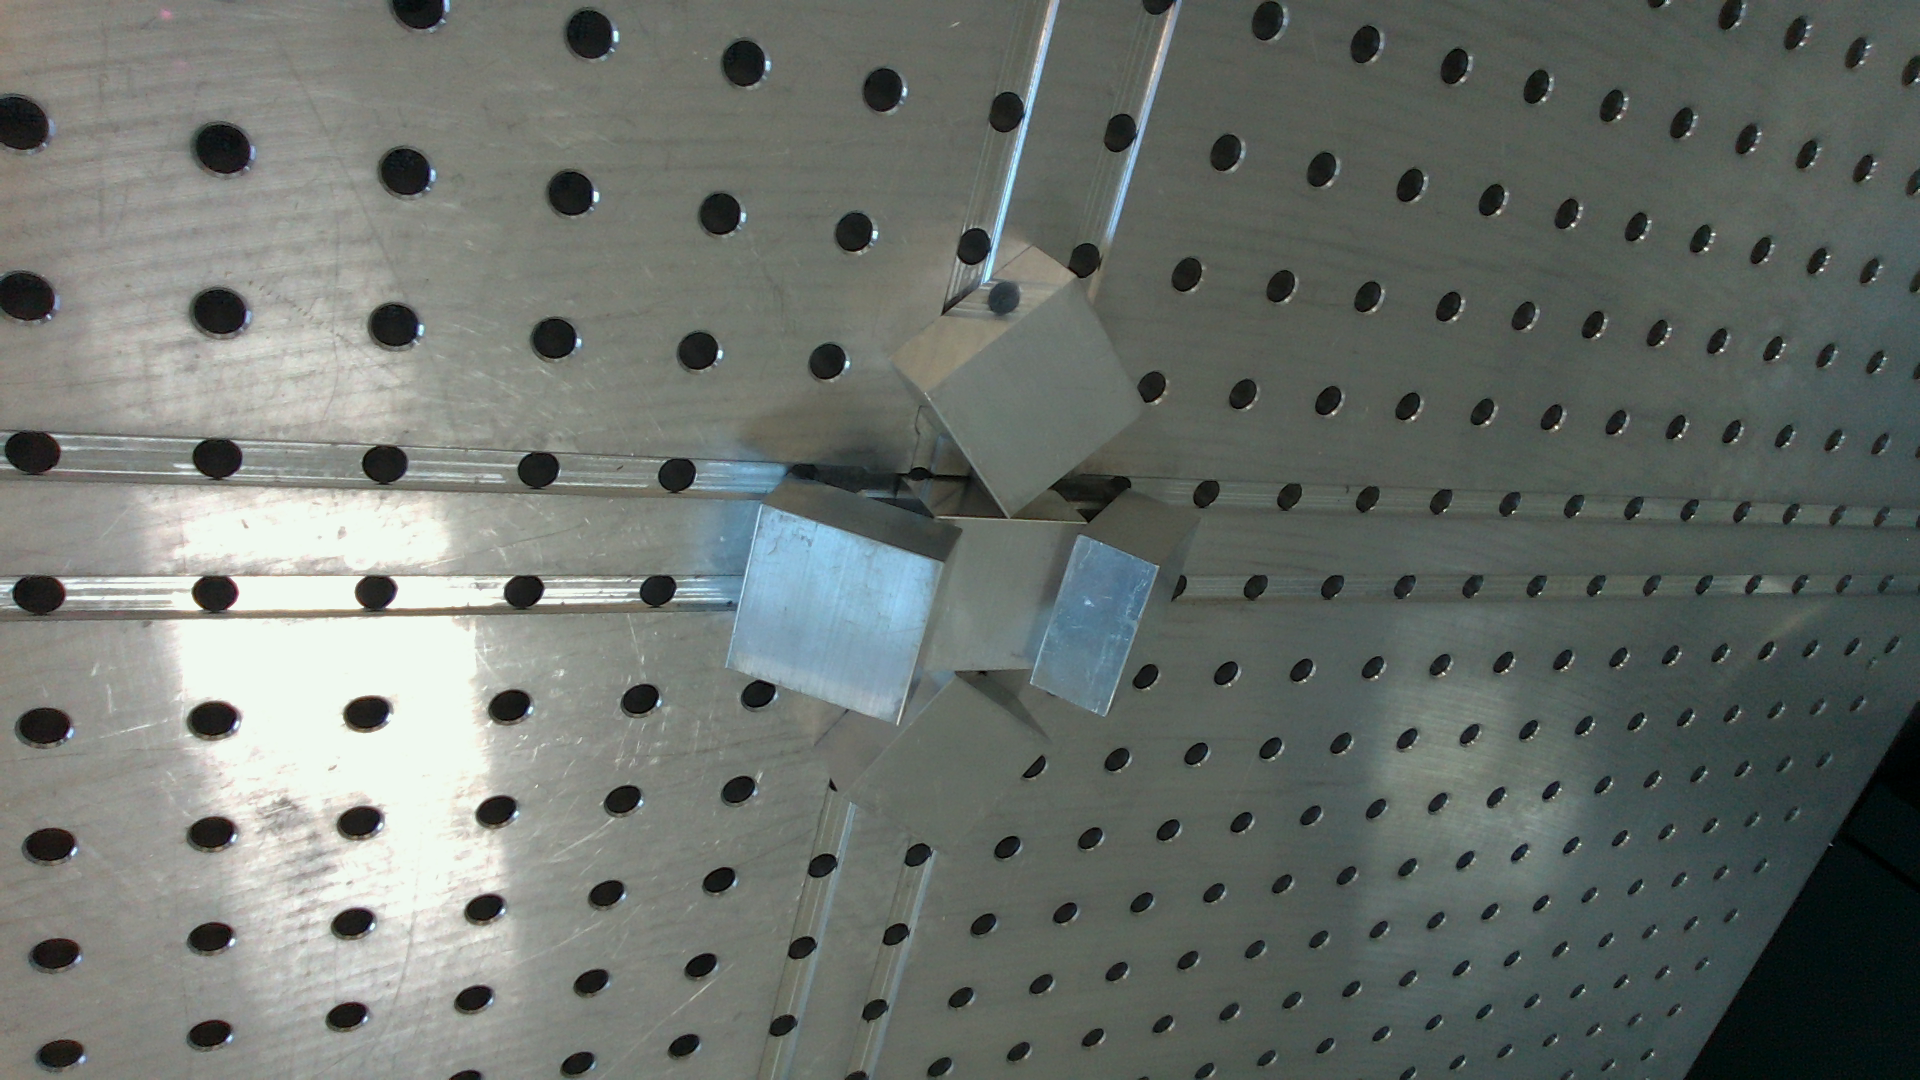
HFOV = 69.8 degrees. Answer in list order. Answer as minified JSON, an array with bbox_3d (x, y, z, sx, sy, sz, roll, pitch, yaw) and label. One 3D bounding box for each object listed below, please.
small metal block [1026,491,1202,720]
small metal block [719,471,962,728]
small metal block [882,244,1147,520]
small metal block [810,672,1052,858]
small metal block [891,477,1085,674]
[{"bbox_3d":[0.047,0.018,0.411,0.050,0.025,0.050,-36,146,-61],"label":"small metal block"},{"bbox_3d":[-0.032,0.016,0.368,0.050,0.025,0.050,18,114,4],"label":"small metal block"},{"bbox_3d":[0.016,-0.043,0.374,0.050,0.025,0.050,-38,128,-3],"label":"small metal block"},{"bbox_3d":[-0.009,0.064,0.426,0.050,0.025,0.050,-47,128,5],"label":"small metal block"},{"bbox_3d":[0.003,0.011,0.399,0.050,0.025,0.050,1,117,-29],"label":"small metal block"}]
